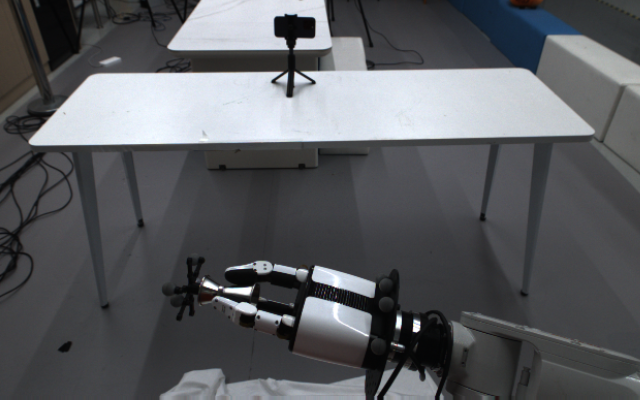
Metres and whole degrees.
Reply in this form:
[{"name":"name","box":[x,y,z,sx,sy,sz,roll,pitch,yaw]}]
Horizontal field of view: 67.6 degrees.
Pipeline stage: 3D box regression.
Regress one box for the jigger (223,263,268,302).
[{"name":"jigger","box":[-0.106,0.114,0.614,0.071,0.043,0.043,7,35,7]}]
